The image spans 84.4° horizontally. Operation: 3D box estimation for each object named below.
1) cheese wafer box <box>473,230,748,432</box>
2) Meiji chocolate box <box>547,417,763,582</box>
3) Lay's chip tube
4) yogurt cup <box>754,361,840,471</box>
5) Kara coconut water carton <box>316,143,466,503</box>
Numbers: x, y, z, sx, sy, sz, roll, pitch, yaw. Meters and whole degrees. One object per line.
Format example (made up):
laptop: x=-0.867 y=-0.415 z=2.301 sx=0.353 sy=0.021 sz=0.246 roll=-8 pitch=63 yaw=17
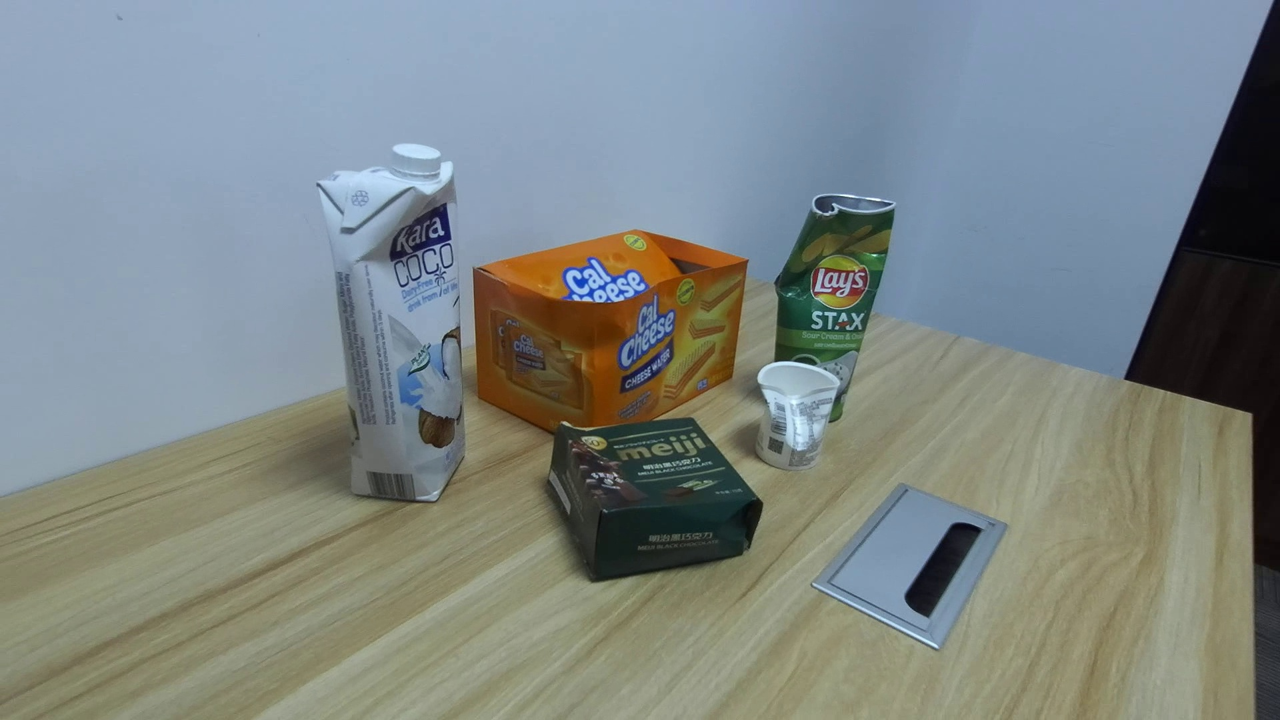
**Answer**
cheese wafer box: x=-0.022 y=-0.029 z=0.660 sx=0.151 sy=0.132 sz=0.231 roll=23 pitch=29 yaw=33
Meiji chocolate box: x=0.007 y=0.090 z=0.486 sx=0.116 sy=0.058 sz=0.122 roll=-2 pitch=25 yaw=-21
Lay's chip tube: x=0.167 y=-0.045 z=0.634 sx=0.069 sy=0.201 sz=0.077 roll=21 pitch=31 yaw=34
yogurt cup: x=0.124 y=0.046 z=0.579 sx=0.067 sy=0.070 sz=0.067 roll=2 pitch=24 yaw=-1
Kara coconut water carton: x=-0.162 y=-0.022 z=0.481 sx=0.069 sy=0.238 sz=0.115 roll=6 pitch=24 yaw=3
